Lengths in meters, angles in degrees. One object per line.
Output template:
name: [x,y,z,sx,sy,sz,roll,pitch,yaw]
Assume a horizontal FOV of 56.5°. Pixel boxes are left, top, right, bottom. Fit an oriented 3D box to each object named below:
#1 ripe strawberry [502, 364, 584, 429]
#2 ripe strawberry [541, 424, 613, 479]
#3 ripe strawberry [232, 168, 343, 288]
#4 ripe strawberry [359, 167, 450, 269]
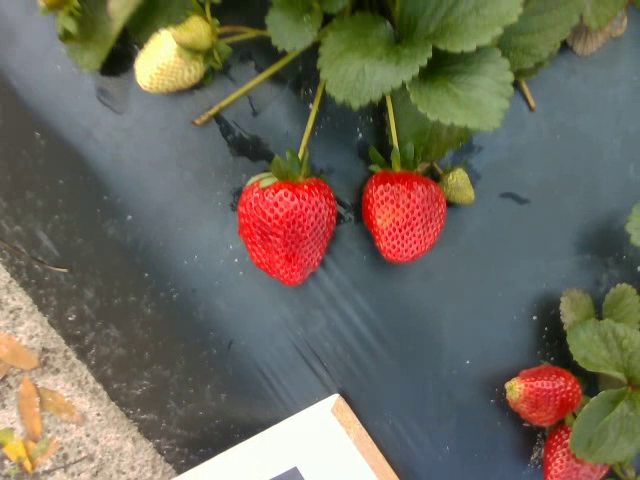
ripe strawberry: [0.122,0.086,0.333,0.053,0.047,0.039,19,33,-21]
ripe strawberry: [0.140,0.125,0.326,0.049,0.044,0.041,-39,0,-36]
ripe strawberry: [-0.020,-0.003,0.330,0.058,0.065,0.043,-1,0,26]
ripe strawberry: [0.045,-0.011,0.332,0.050,0.060,0.051,-7,-35,28]
